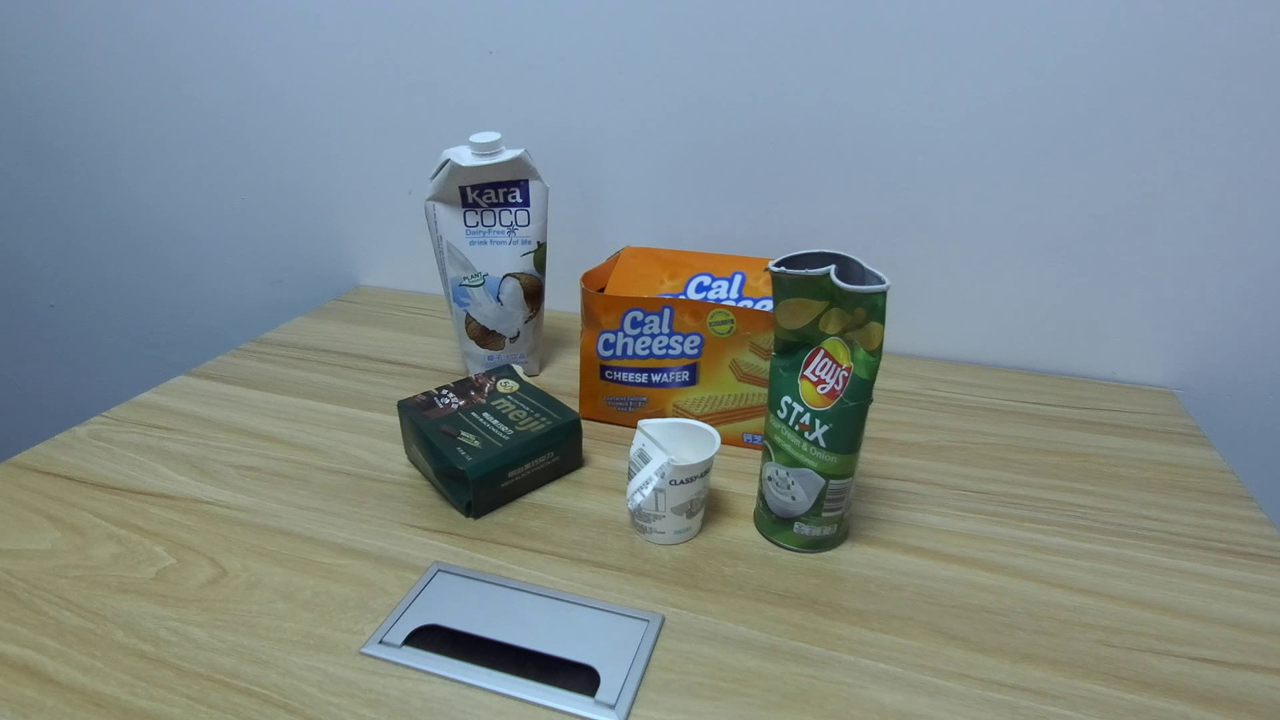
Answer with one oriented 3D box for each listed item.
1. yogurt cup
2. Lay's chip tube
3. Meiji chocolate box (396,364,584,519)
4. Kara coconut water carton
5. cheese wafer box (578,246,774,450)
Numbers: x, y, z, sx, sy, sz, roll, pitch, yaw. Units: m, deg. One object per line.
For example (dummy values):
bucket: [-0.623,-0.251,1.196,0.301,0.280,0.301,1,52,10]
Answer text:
yogurt cup: [0.023,0.086,0.501,0.067,0.070,0.067,0,24,0]
Lay's chip tube: [0.118,0.030,0.469,0.077,0.201,0.069,8,27,20]
Meiji chocolate box: [-0.119,0.063,0.573,0.123,0.058,0.115,-22,37,-36]
Kara coconut water carton: [-0.144,-0.098,0.689,0.115,0.238,0.069,-6,28,-13]
cheese wafer box: [0.064,-0.014,0.648,0.230,0.132,0.152,9,27,15]
